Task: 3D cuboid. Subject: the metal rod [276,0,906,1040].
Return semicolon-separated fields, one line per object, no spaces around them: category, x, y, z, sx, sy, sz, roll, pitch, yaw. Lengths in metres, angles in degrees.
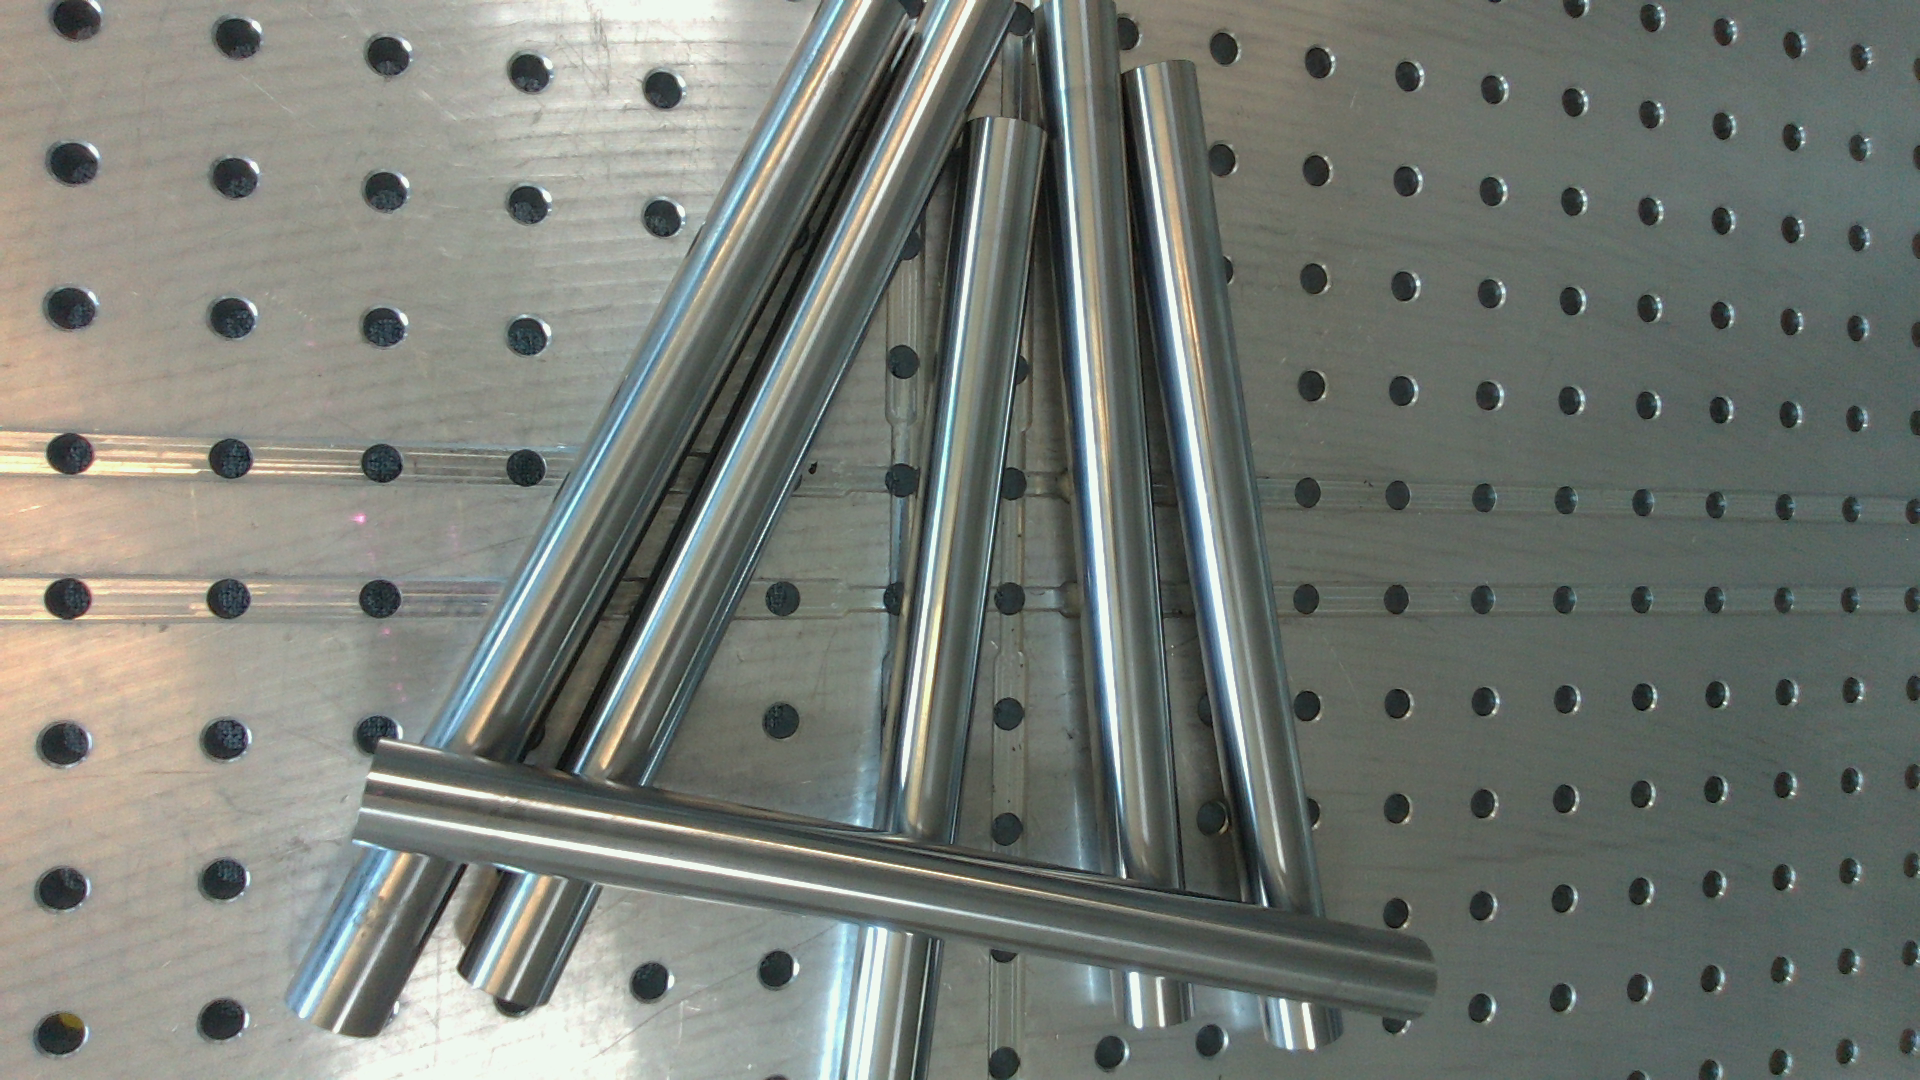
metal rod;-0.091;-0.017;0.362;0.025;0.025;0.300;29;81;-18

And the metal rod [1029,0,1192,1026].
metal rod;0.045;-0.007;0.412;0.025;0.025;0.300;-5;92;-20

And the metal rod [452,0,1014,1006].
metal rod;-0.057;-0.021;0.375;0.025;0.025;0.300;27;81;-18

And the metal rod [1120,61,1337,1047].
metal rod;0.082;0.007;0.426;0.025;0.025;0.300;-11;94;-20

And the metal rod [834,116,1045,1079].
metal rod;-0.007;0.030;0.393;0.025;0.025;0.300;8;87;-20
